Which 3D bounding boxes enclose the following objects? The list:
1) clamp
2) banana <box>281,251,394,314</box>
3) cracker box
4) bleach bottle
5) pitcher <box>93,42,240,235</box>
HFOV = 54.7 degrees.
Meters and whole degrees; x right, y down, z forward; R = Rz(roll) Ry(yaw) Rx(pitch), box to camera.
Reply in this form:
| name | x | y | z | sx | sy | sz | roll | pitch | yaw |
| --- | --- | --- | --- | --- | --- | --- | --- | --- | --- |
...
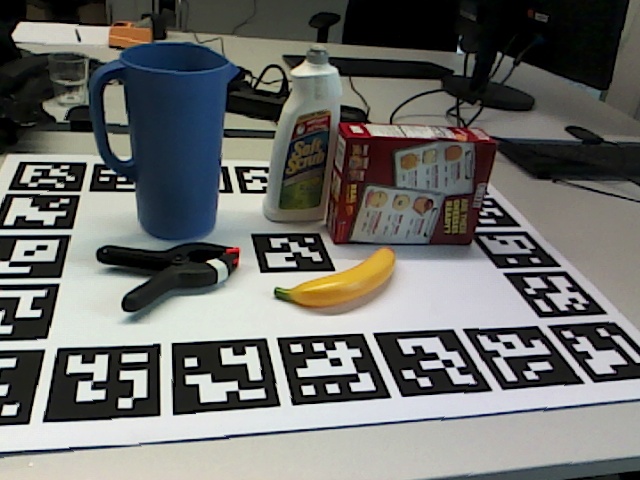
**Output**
| name | x | y | z | sx | sy | sz | roll | pitch | yaw |
| --- | --- | --- | --- | --- | --- | --- | --- | --- | --- |
| clamp | -0.174 | 0.041 | 0.771 | 0.164 | 0.036 | 0.123 | -9 | 31 | -29 |
| banana | 0.043 | 0.056 | 0.806 | 0.075 | 0.039 | 0.196 | 28 | 35 | 35 |
| cracker box | 0.132 | -0.080 | 0.895 | 0.213 | 0.164 | 0.072 | -1 | 27 | -11 |
| bleach bottle | -0.031 | -0.138 | 0.909 | 0.102 | 0.250 | 0.068 | -1 | 29 | -14 |
| pitcher | -0.201 | -0.132 | 0.821 | 0.188 | 0.242 | 0.134 | -9 | 32 | -32 |
